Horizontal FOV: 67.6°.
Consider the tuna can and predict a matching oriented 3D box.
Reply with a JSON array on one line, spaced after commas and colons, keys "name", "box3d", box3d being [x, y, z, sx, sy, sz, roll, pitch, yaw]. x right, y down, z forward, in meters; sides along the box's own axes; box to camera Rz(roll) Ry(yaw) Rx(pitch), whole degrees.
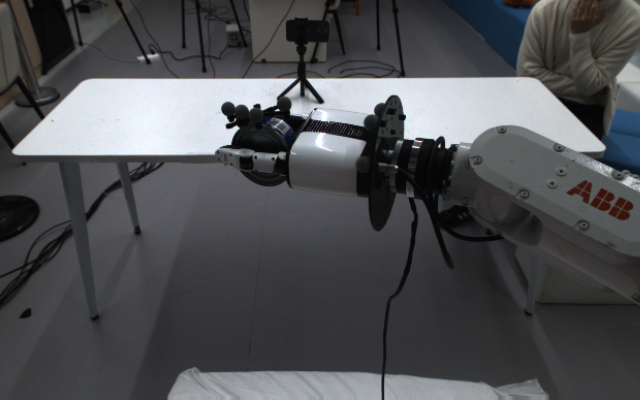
[{"name": "tuna can", "box3d": [-0.065, -0.062, 0.614, 0.085, 0.085, 0.034, 14, 34, 17]}]
